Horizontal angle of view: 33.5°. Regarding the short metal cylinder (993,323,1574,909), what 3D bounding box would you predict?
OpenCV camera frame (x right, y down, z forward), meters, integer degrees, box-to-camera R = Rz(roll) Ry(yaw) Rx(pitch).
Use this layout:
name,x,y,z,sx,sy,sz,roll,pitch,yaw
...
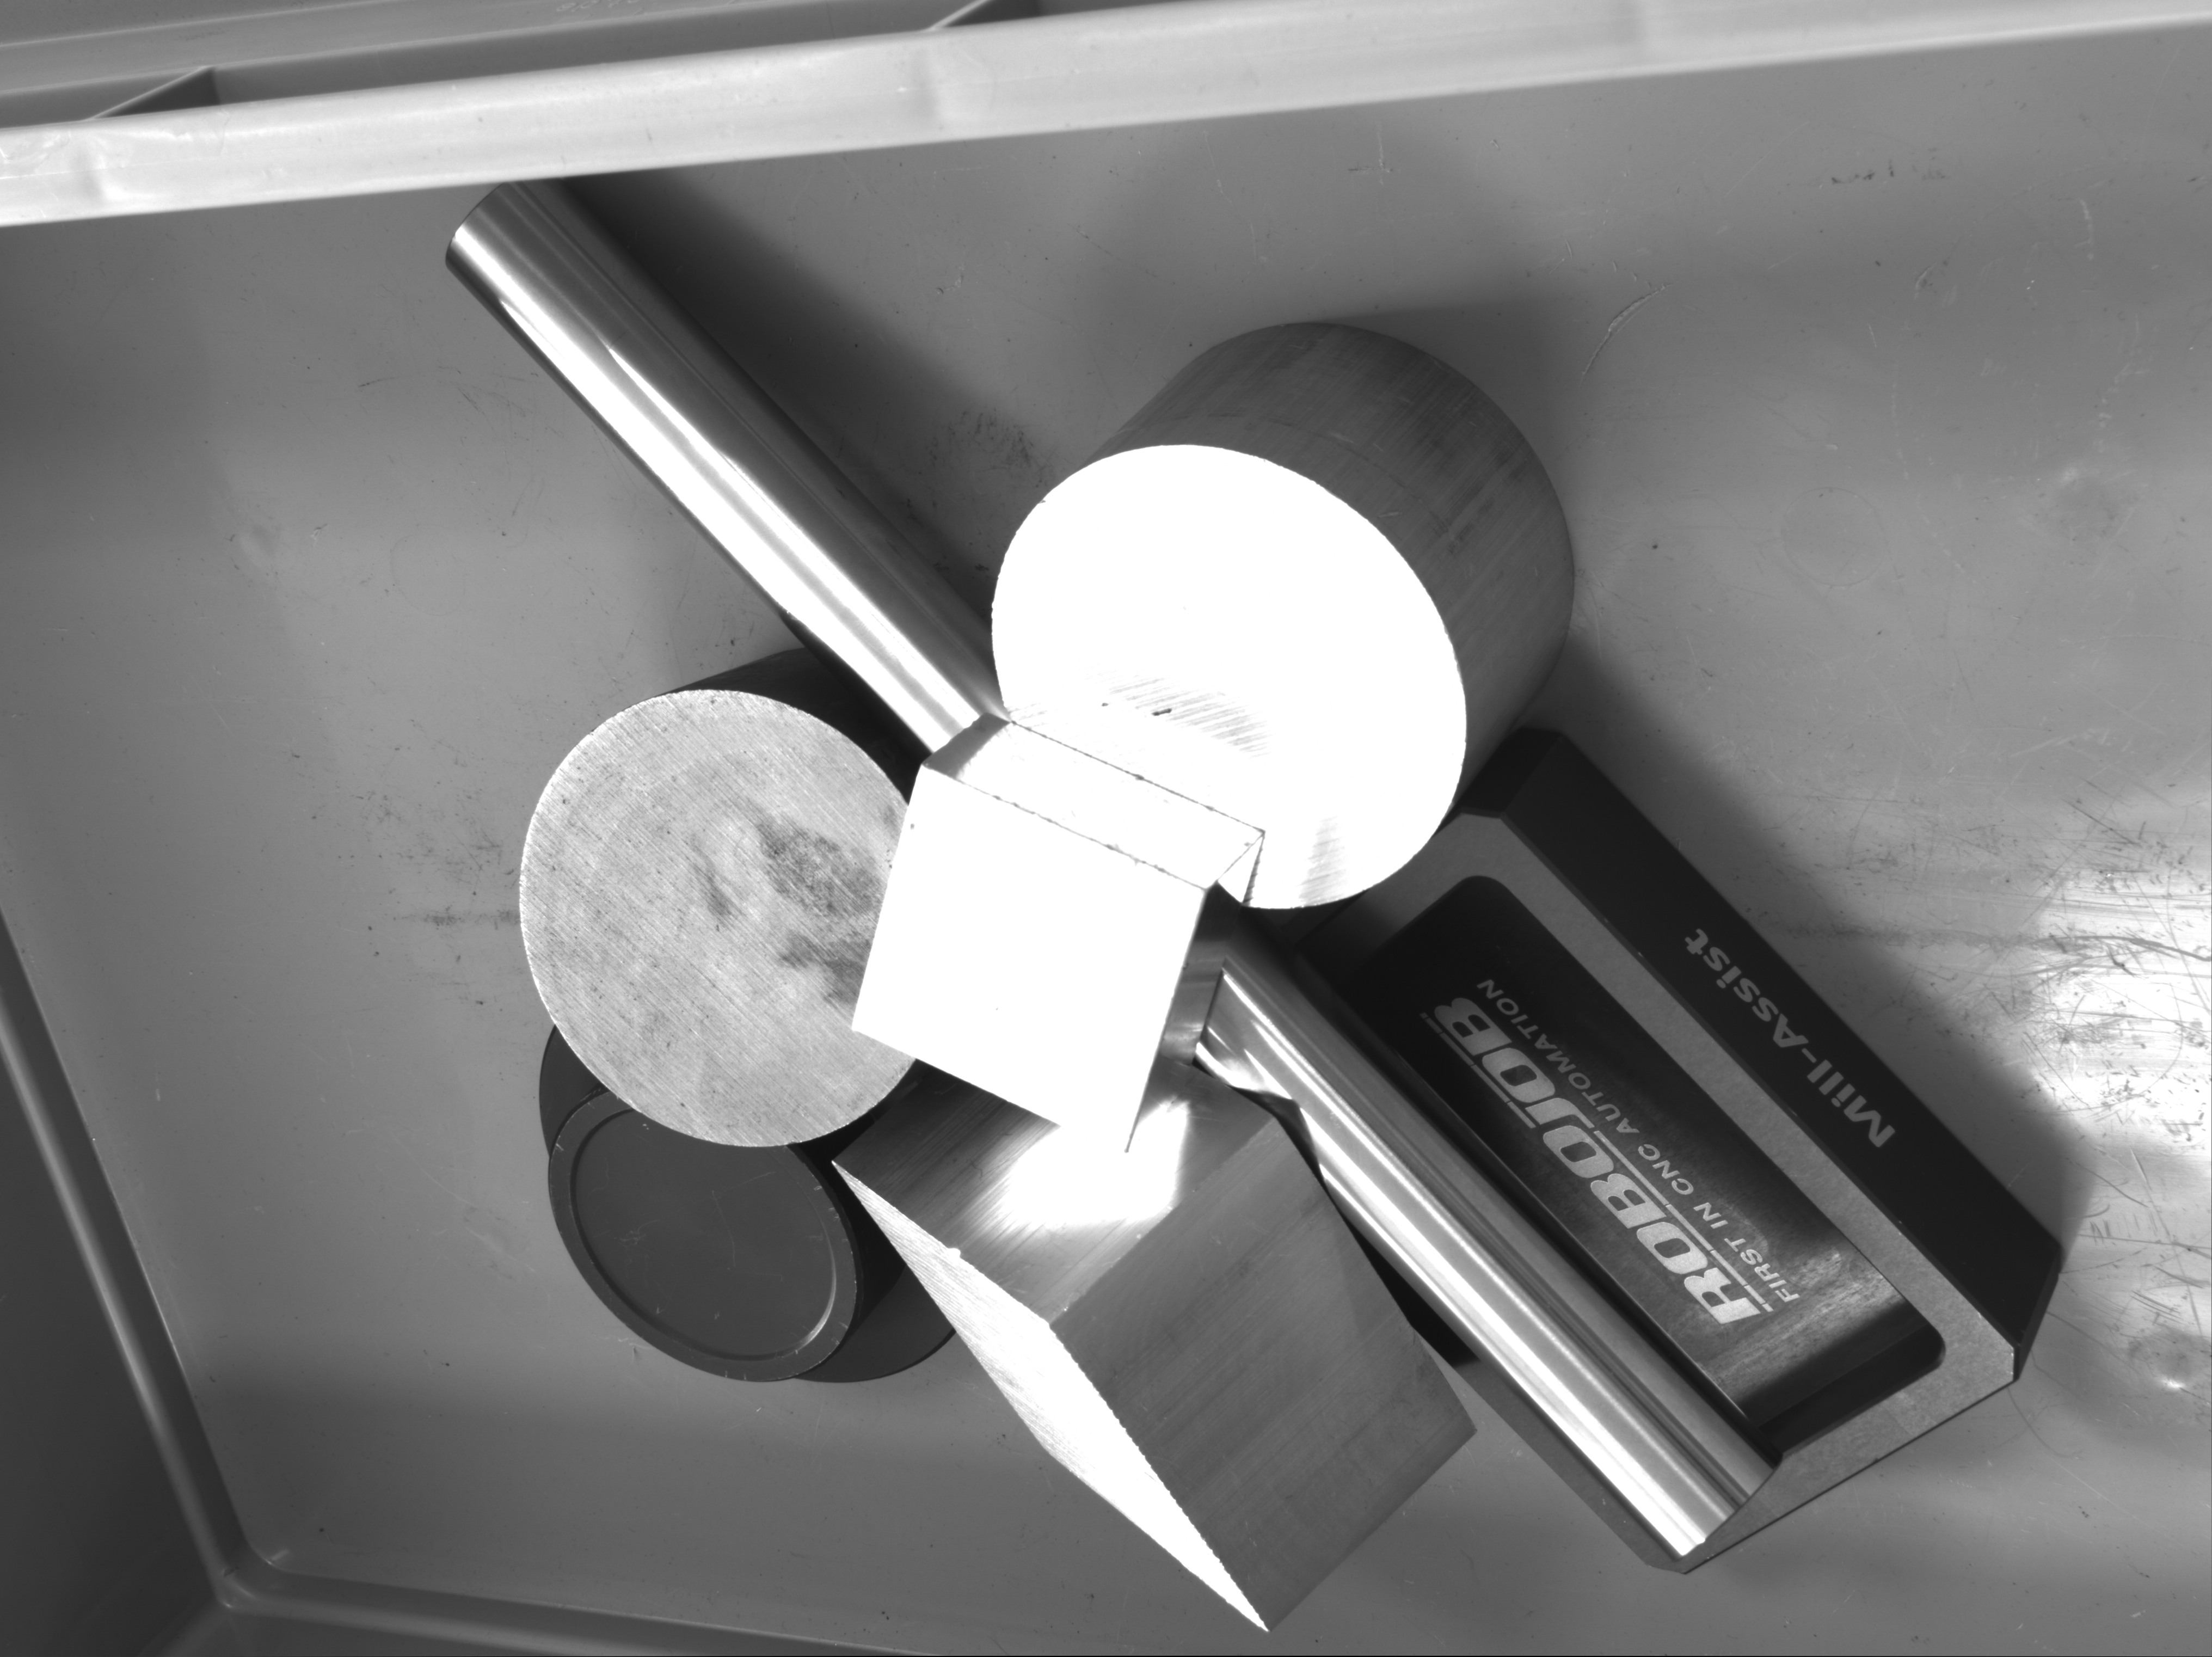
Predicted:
name,x,y,z,sx,sy,sz,roll,pitch,yaw
short metal cylinder,0.029,-0.034,0.589,0.080,0.050,0.080,13,124,21

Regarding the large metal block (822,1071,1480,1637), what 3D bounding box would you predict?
name,x,y,z,sx,sy,sz,roll,pitch,yaw
large metal block,0.007,0.081,0.637,0.080,0.050,0.080,26,154,56

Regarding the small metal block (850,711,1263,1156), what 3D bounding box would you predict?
name,x,y,z,sx,sy,sz,roll,pitch,yaw
small metal block,-0.008,0.017,0.588,0.050,0.025,0.050,24,119,14

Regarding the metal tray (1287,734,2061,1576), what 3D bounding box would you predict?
name,x,y,z,sx,sy,sz,roll,pitch,yaw
metal tray,0.085,0.058,0.627,0.130,0.030,0.090,45,129,-3

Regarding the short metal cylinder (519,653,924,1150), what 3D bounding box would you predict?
name,x,y,z,sx,sy,sz,roll,pitch,yaw
short metal cylinder,-0.056,0.011,0.648,0.080,0.050,0.080,4,103,19

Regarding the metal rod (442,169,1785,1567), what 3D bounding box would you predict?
name,x,y,z,sx,sy,sz,roll,pitch,yaw
metal rod,-0.002,0.003,0.612,0.300,0.025,0.025,46,130,8

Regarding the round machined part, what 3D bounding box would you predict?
name,x,y,z,sx,sy,sz,roll,pitch,yaw
round machined part,-0.068,0.067,0.707,0.098,0.042,0.098,13,124,21
